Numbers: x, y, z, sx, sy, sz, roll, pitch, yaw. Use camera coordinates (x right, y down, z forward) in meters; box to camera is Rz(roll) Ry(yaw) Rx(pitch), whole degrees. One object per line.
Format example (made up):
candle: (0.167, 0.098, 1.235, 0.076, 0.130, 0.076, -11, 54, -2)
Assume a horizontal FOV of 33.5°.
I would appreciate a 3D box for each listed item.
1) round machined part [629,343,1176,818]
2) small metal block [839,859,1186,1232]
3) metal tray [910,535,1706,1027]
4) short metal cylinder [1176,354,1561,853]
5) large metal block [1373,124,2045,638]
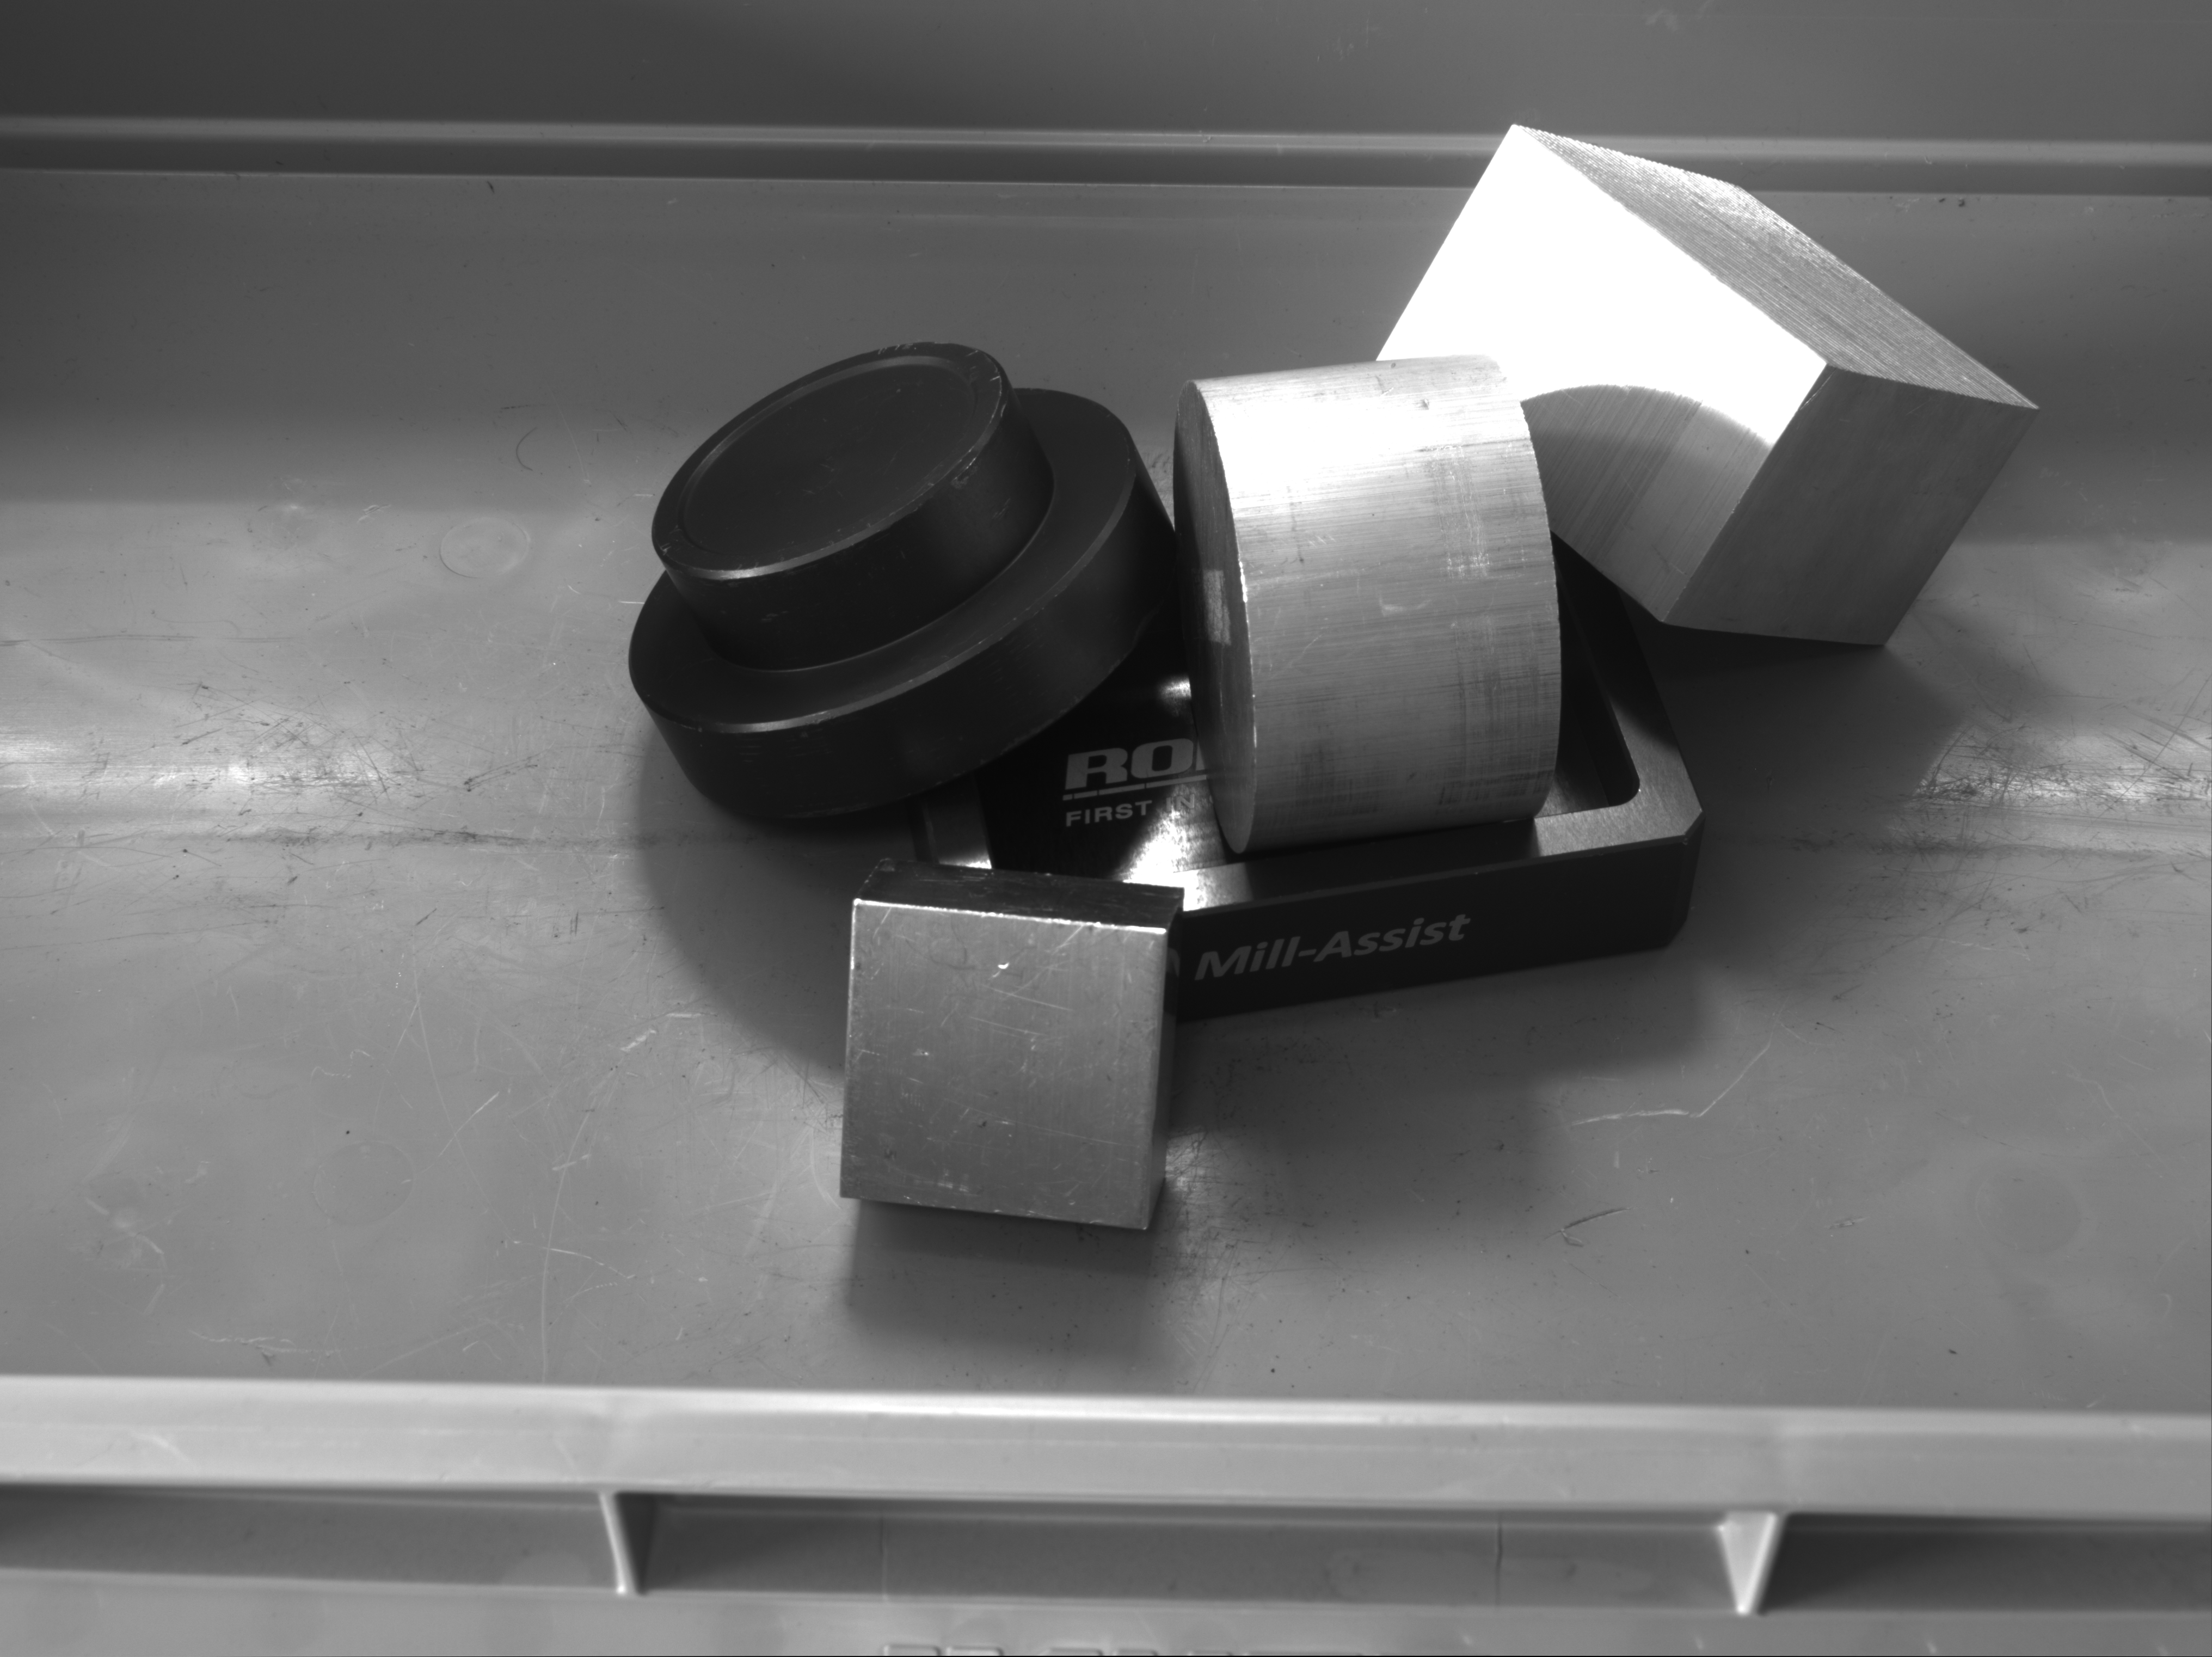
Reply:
round machined part: (-0.041, -0.049, 0.647, 0.098, 0.042, 0.098, -19, 32, 13)
small metal block: (-0.015, 0.035, 0.592, 0.050, 0.050, 0.025, 5, 16, 6)
metal tray: (0.030, -0.013, 0.650, 0.130, 0.030, 0.090, -9, 50, -7)
short metal cylinder: (0.042, -0.038, 0.621, 0.050, 0.080, 0.080, -6, 50, -6)
large metal block: (0.109, -0.080, 0.666, 0.080, 0.050, 0.080, 0, 37, -51)
